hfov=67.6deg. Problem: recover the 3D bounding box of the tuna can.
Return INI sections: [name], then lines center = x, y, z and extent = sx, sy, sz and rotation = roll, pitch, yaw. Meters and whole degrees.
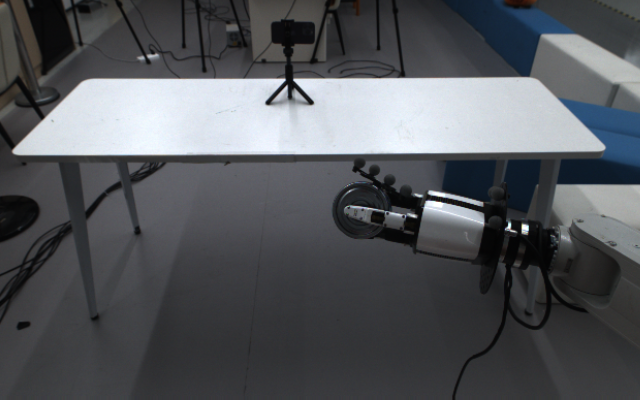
[tuna can]
center = 0.065, 0.021, 0.713
extent = 0.085, 0.085, 0.034
rotation = 13, 4, 15
